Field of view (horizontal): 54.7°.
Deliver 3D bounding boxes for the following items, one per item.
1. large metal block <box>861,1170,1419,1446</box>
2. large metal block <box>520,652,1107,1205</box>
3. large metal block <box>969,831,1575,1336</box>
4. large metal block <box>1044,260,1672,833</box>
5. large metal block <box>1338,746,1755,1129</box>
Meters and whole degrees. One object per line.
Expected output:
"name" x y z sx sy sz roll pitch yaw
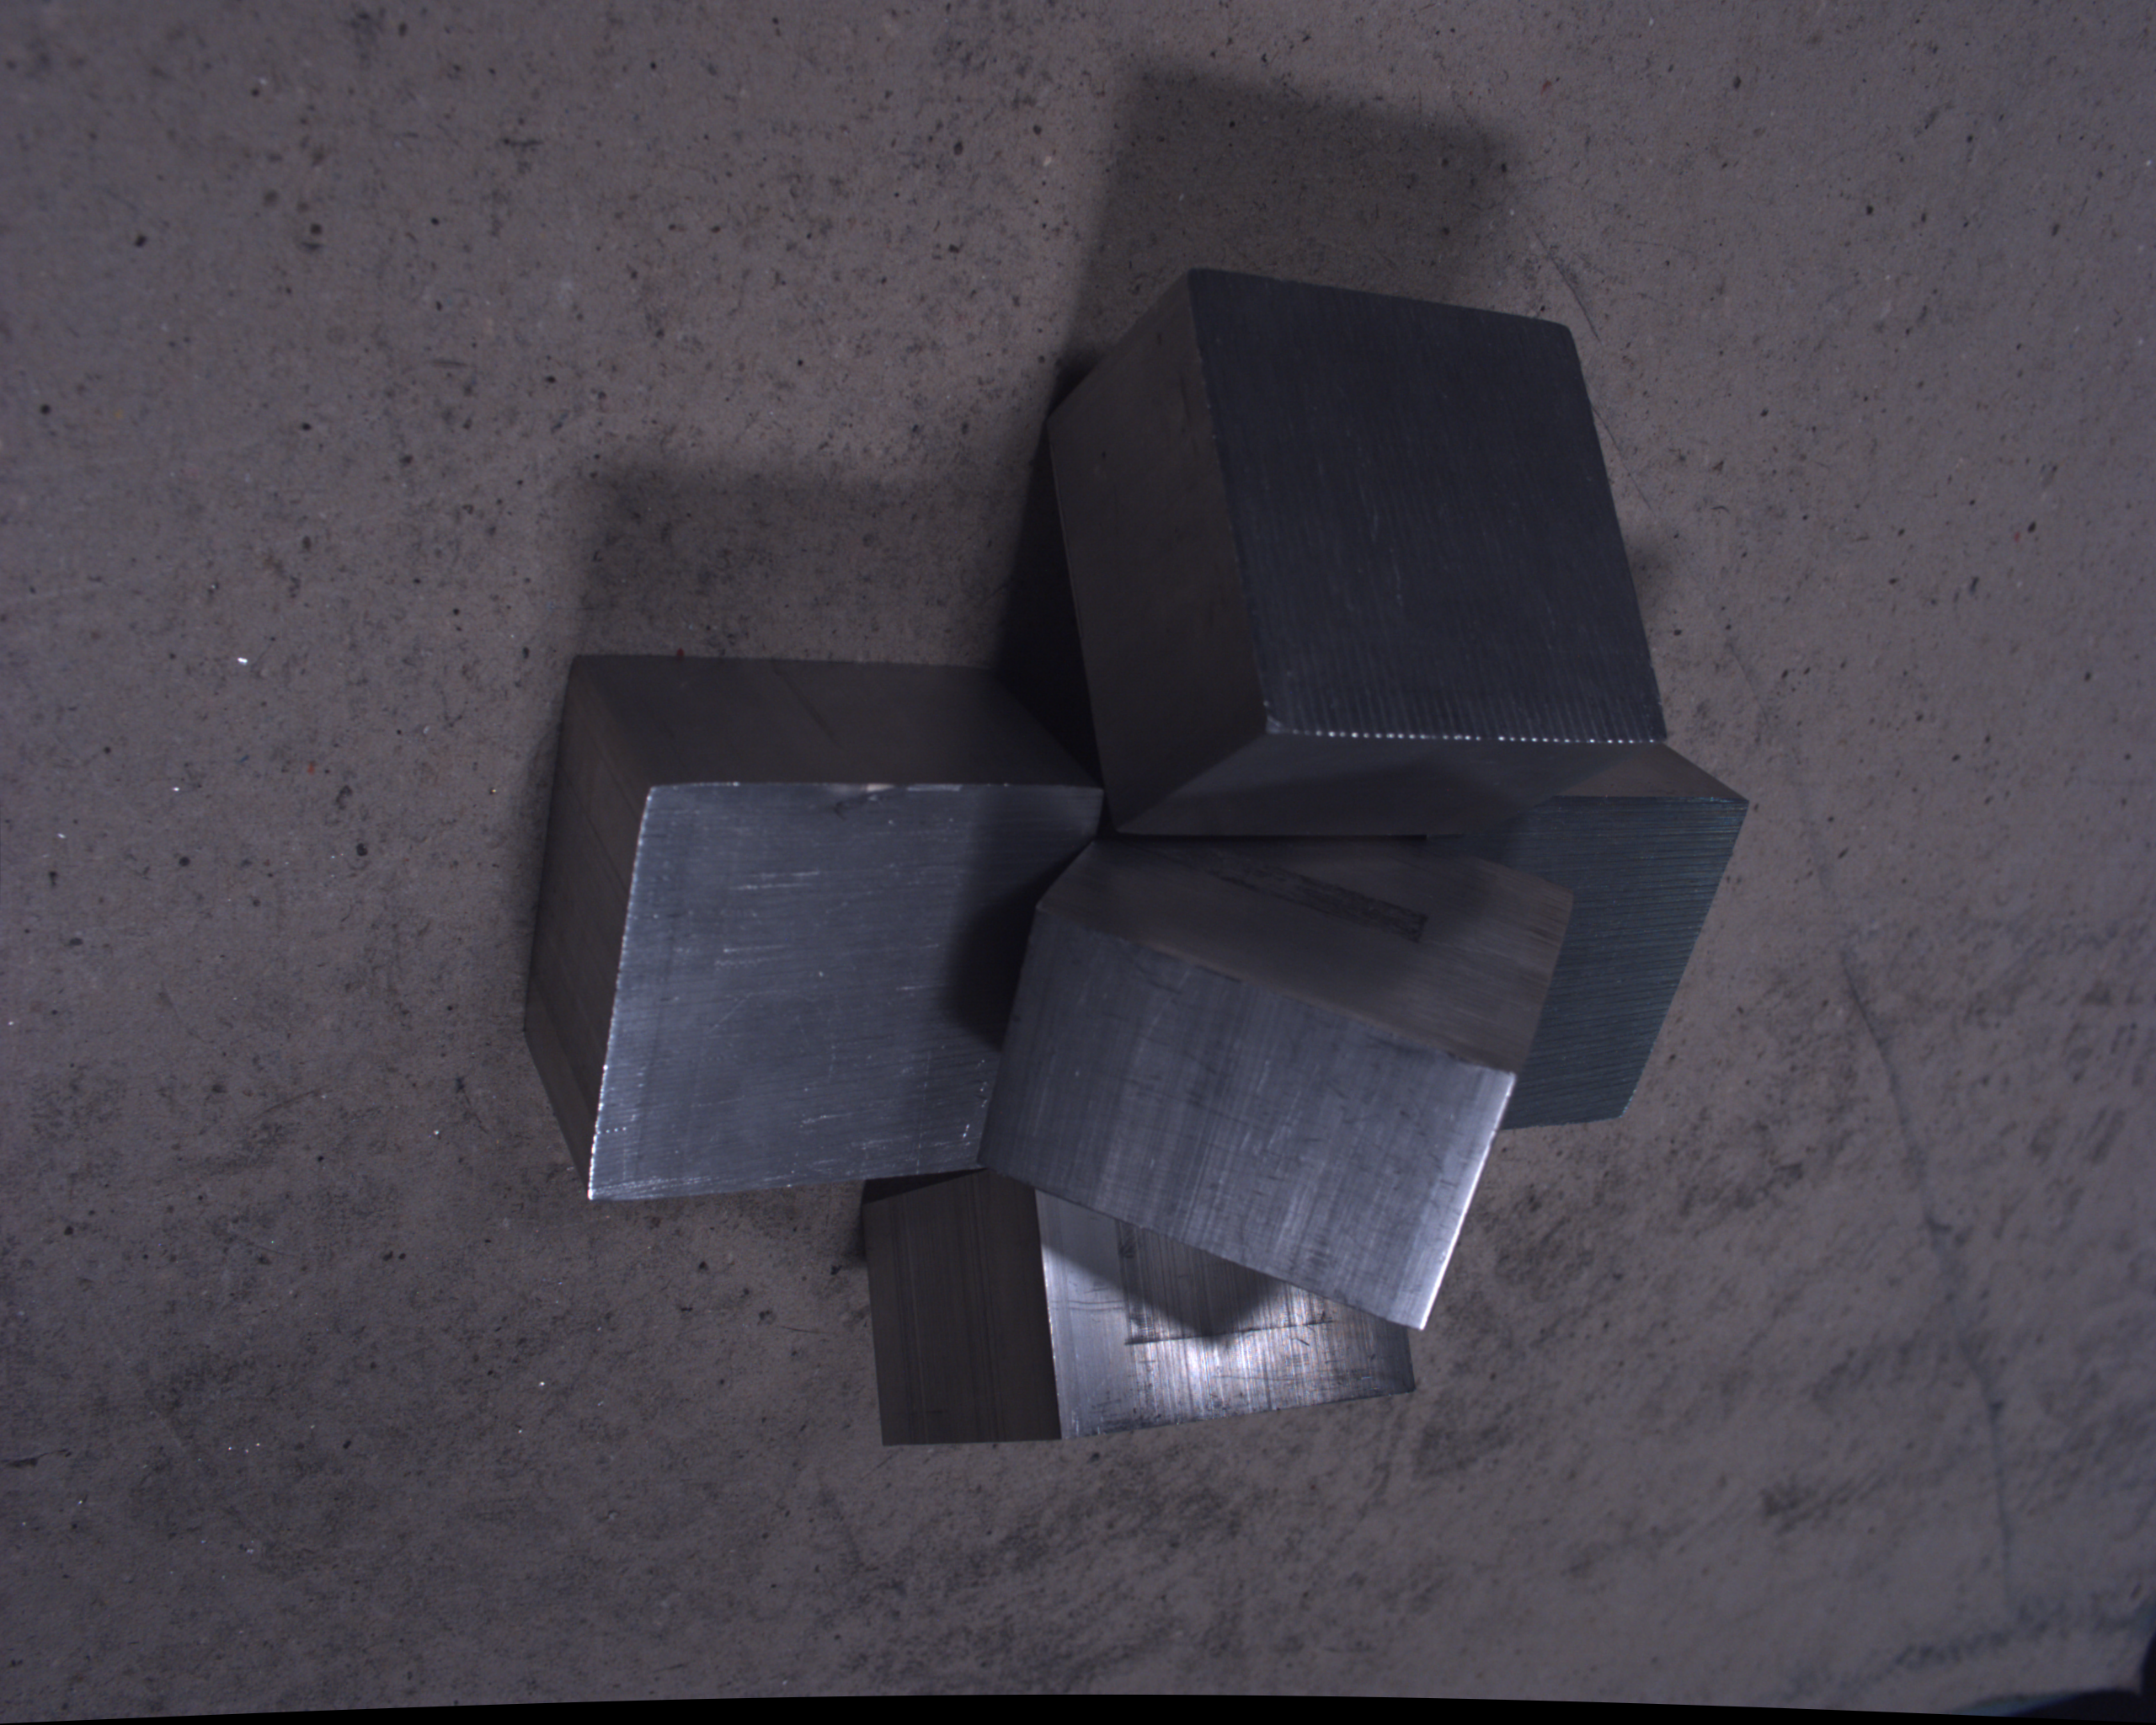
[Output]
"large metal block" 0.010 0.089 0.427 0.081 0.080 0.050 2 75 -29
"large metal block" -0.049 0.010 0.373 0.081 0.050 0.079 -1 119 -29
"large metal block" 0.037 0.028 0.369 0.080 0.080 0.050 19 116 11
"large metal block" 0.047 -0.051 0.361 0.081 0.080 0.050 0 162 -28
"large metal block" 0.083 0.010 0.442 0.081 0.050 0.079 0 119 -29
